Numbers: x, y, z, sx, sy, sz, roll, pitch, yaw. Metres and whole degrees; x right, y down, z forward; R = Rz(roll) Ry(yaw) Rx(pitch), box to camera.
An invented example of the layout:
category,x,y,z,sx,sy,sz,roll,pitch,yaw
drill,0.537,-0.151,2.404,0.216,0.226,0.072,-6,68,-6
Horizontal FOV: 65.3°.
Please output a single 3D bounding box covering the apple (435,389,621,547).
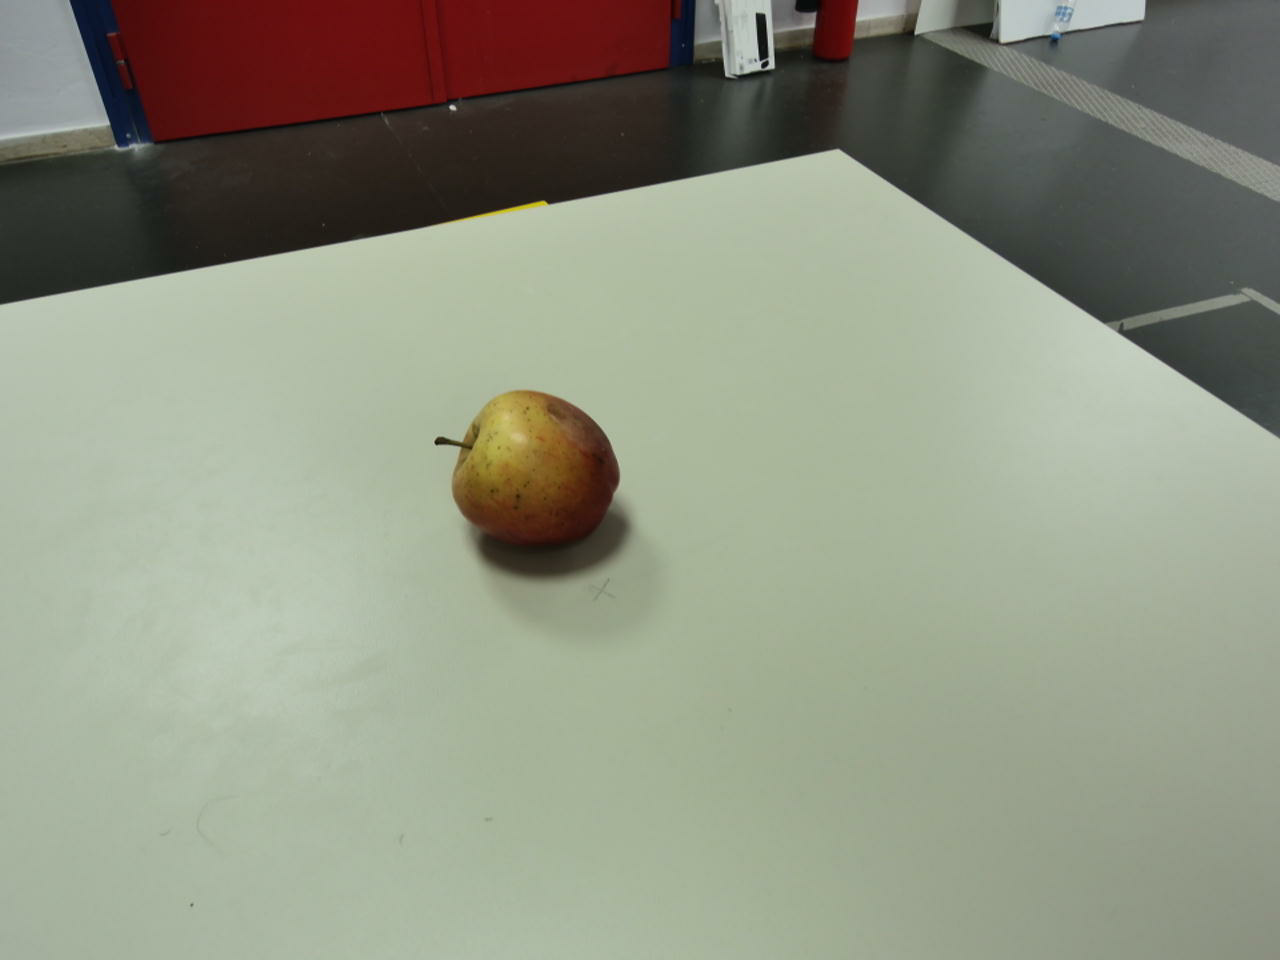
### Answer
category,x,y,z,sx,sy,sz,roll,pitch,yaw
apple,-0.060,-0.006,0.545,0.093,0.084,0.086,20,43,22
